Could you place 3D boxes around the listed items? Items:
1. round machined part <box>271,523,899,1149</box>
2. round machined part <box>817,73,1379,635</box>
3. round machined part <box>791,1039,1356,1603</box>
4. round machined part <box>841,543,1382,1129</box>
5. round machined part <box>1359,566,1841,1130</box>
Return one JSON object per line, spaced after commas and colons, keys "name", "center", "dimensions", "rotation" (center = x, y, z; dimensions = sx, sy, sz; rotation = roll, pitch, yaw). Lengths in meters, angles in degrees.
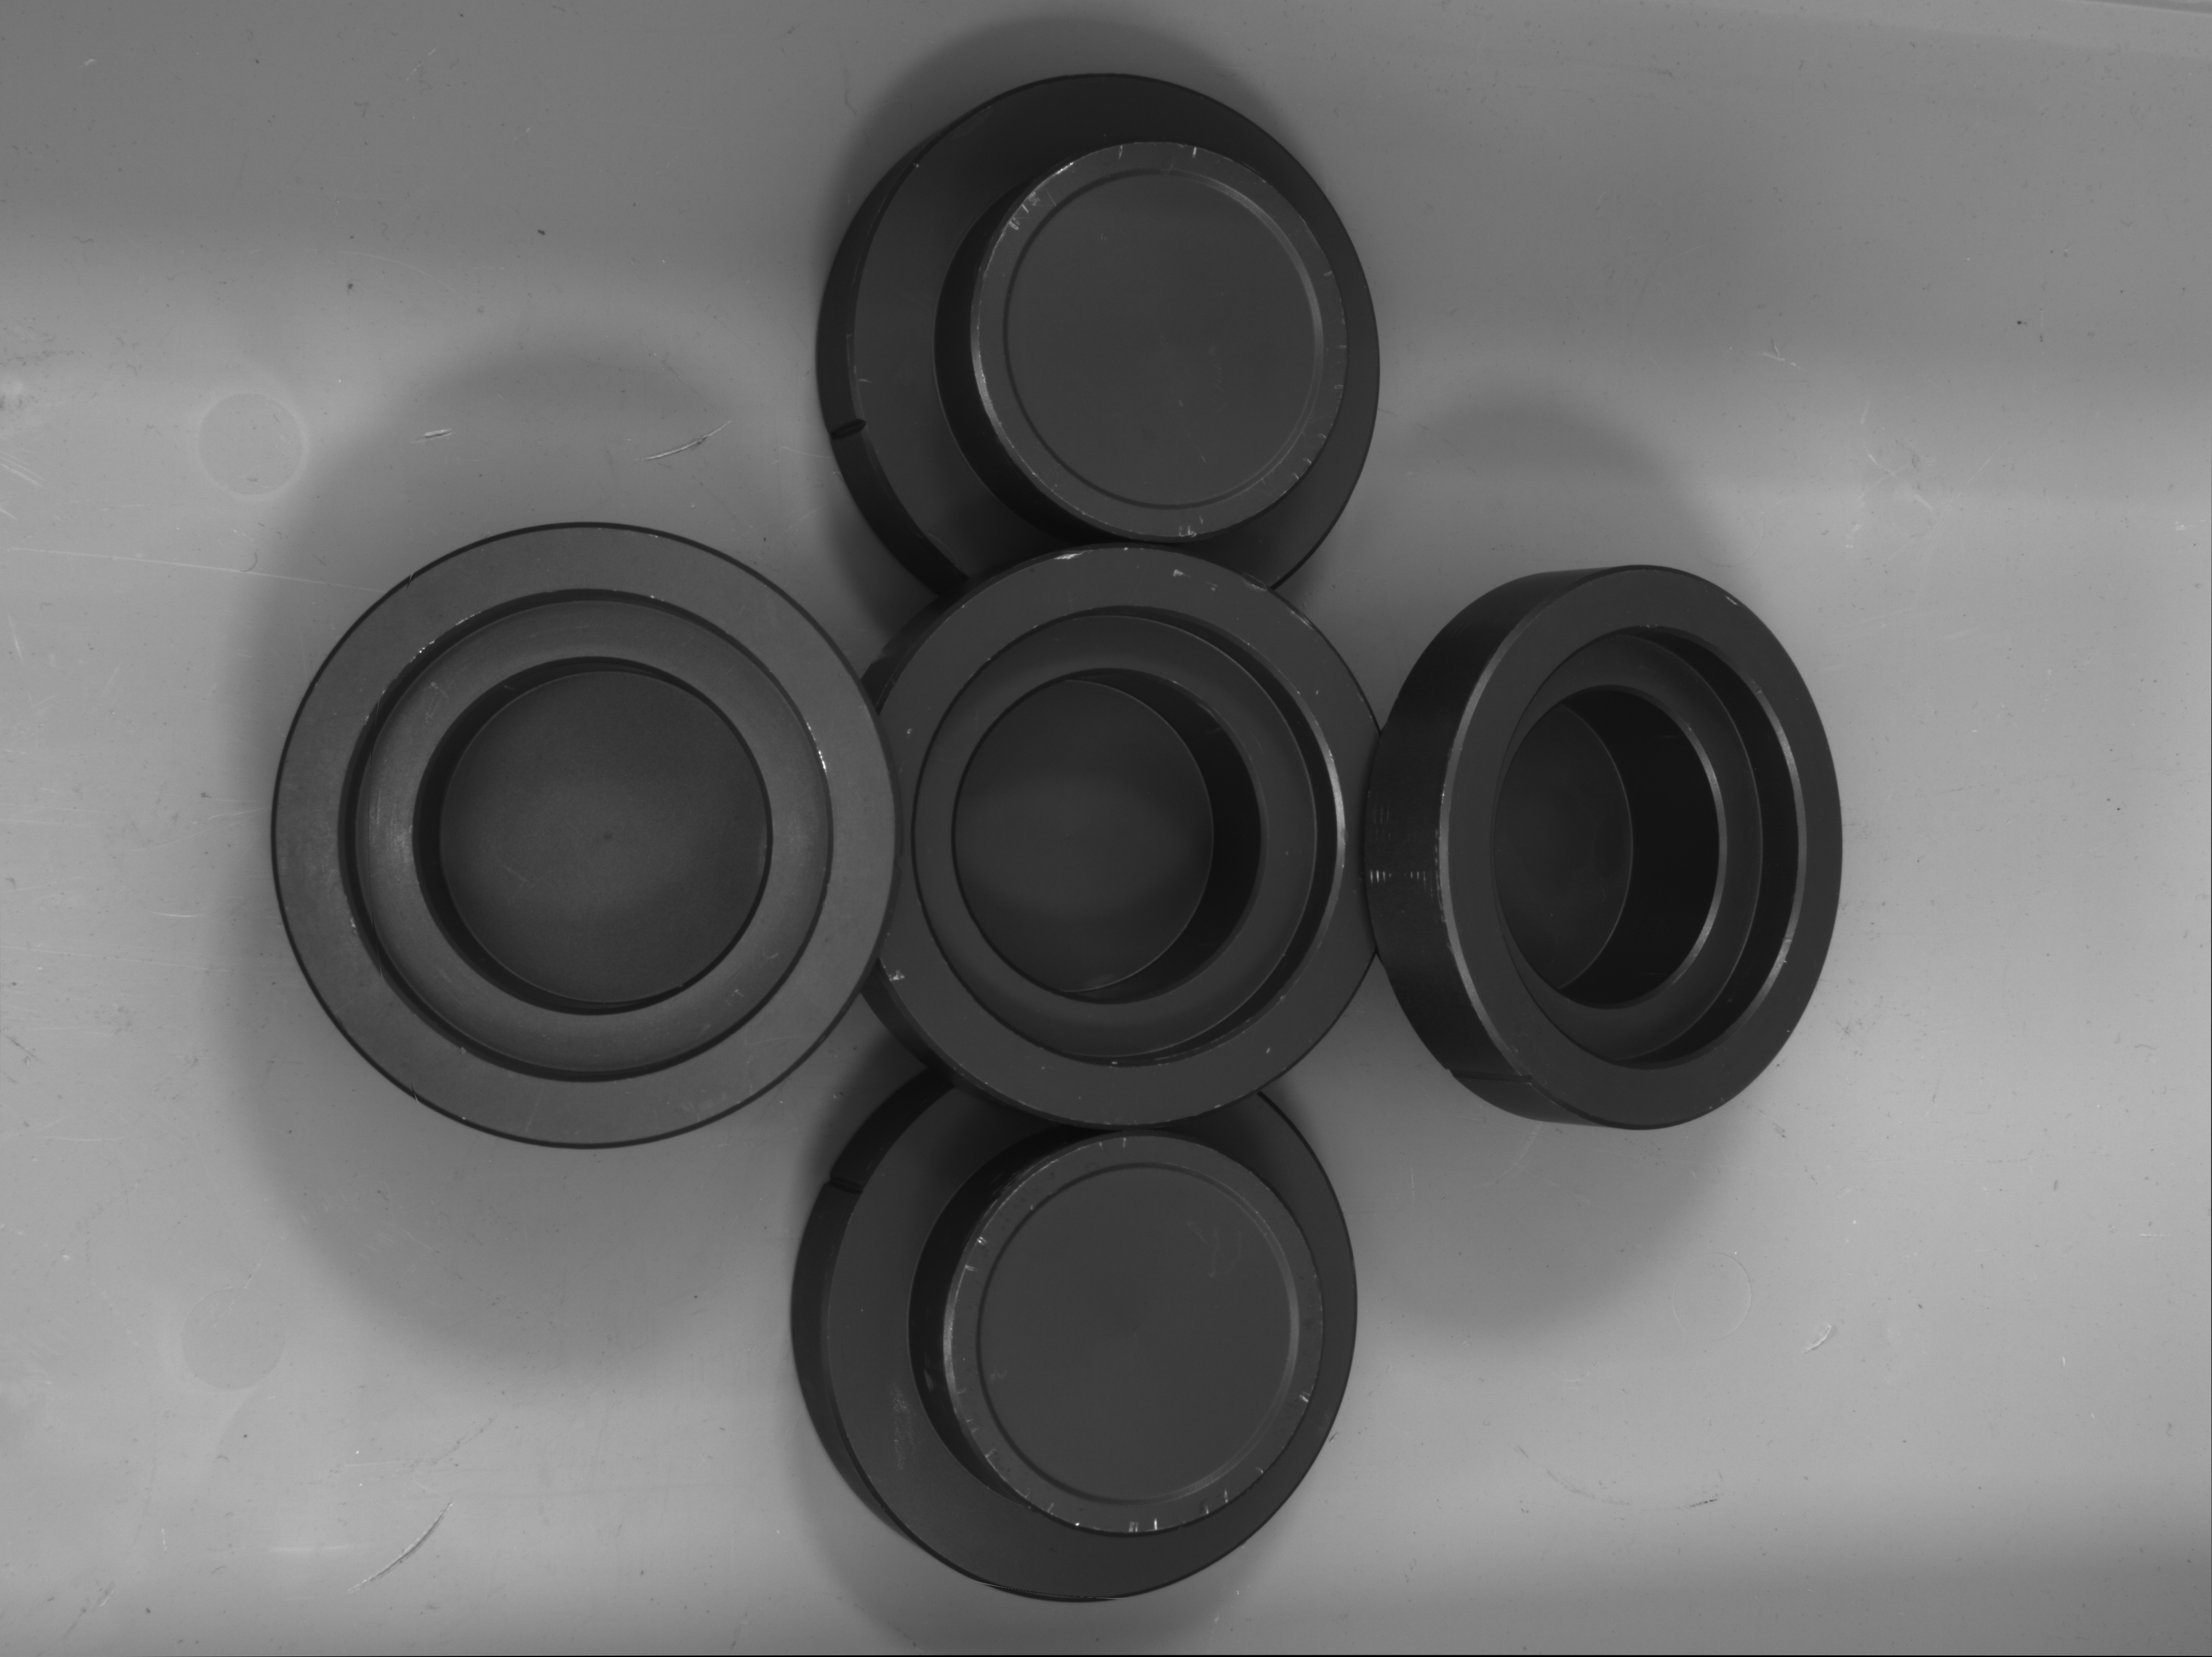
{"name": "round machined part", "center": [-0.082, 0.001, 0.594], "dimensions": [0.098, 0.042, 0.098], "rotation": [0, 90, -2]}
{"name": "round machined part", "center": [0.003, -0.082, 0.633], "dimensions": [0.098, 0.042, 0.098], "rotation": [0, 90, -20]}
{"name": "round machined part", "center": [-0.002, 0.084, 0.632], "dimensions": [0.098, 0.042, 0.098], "rotation": [0, 90, -20]}
{"name": "round machined part", "center": [-0.003, 0.001, 0.631], "dimensions": [0.098, 0.042, 0.098], "rotation": [0, 90, -20]}
{"name": "round machined part", "center": [0.082, 0.003, 0.653], "dimensions": [0.098, 0.042, 0.098], "rotation": [0, 90, -36]}
